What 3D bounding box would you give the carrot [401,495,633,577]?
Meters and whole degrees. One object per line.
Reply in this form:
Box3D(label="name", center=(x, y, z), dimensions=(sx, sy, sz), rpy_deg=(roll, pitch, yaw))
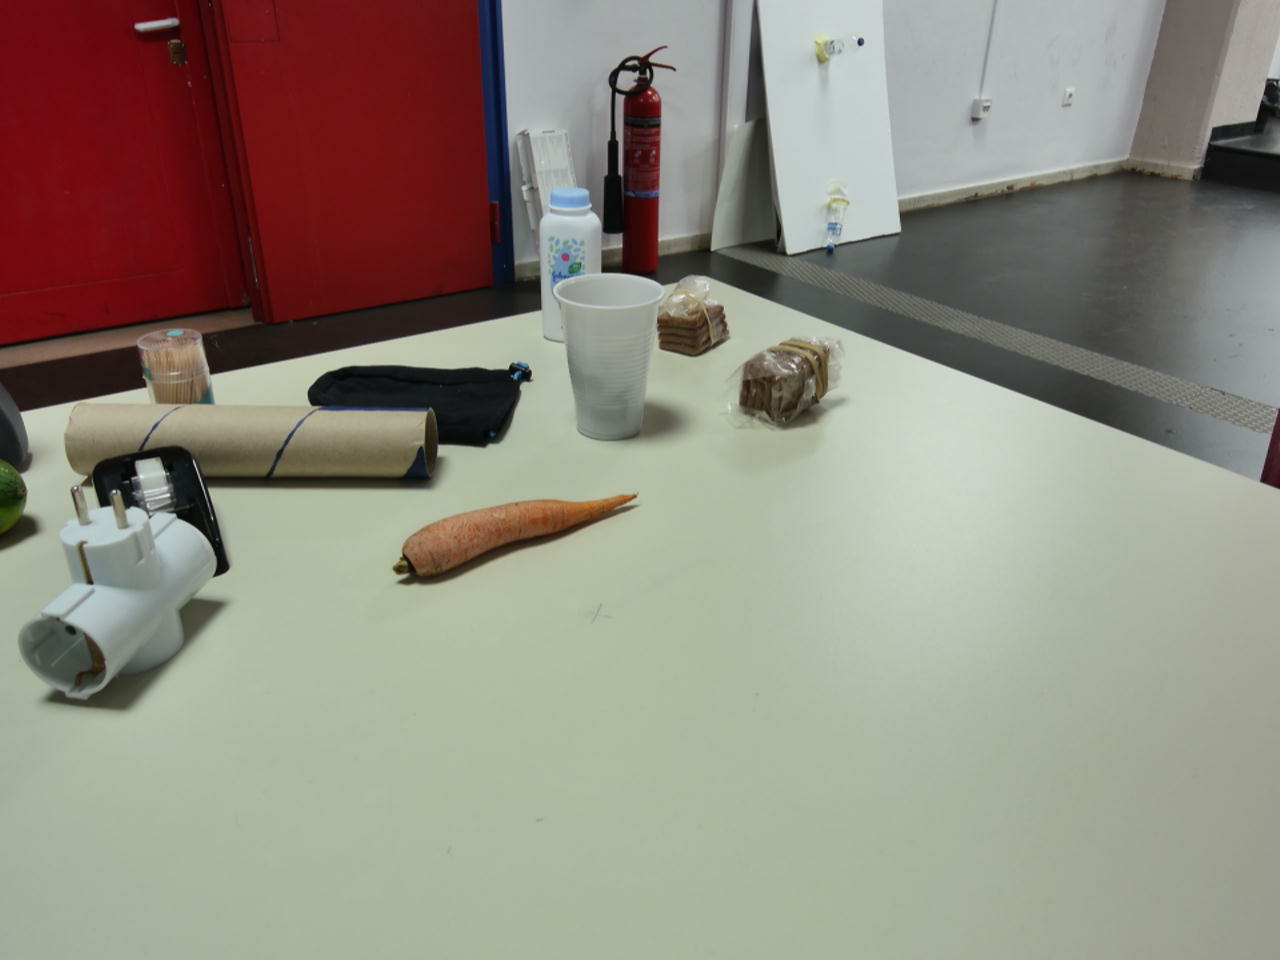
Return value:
Box3D(label="carrot", center=(-0.073, 0.025, 0.618), dimensions=(0.163, 0.029, 0.031), rpy_deg=(-17, 31, -32))
